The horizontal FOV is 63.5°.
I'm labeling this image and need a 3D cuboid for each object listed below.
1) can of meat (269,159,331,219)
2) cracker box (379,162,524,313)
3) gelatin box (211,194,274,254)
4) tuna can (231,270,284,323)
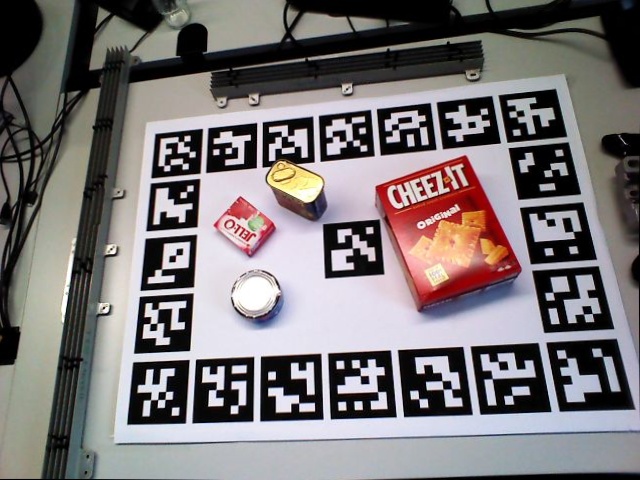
[{"bbox_3d":[-0.032,-0.088,0.929,0.102,0.084,0.057,24,73,19],"label":"can of meat"},{"bbox_3d":[0.211,-0.008,0.860,0.164,0.072,0.213,-19,64,-1],"label":"cracker box"},{"bbox_3d":[-0.140,-0.030,0.944,0.089,0.030,0.073,37,75,18],"label":"gelatin box"},{"bbox_3d":[-0.105,0.097,0.880,0.086,0.034,0.085,-3,71,9],"label":"tuna can"}]
